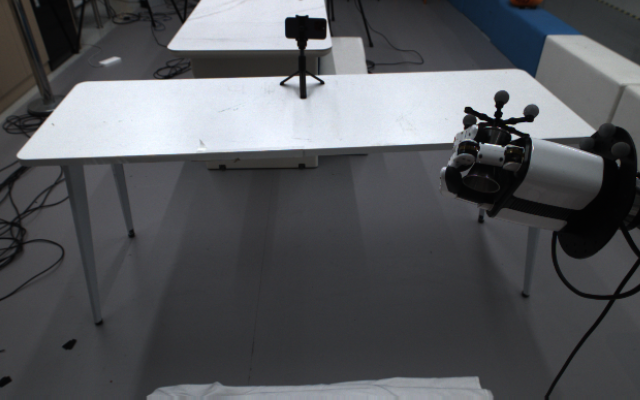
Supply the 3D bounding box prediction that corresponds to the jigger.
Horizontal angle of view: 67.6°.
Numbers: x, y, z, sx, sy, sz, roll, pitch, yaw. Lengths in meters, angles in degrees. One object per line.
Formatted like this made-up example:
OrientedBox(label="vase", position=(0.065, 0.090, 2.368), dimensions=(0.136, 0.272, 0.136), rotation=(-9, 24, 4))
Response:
OrientedBox(label="jigger", position=(0.201, -0.051, 0.577), dimensions=(0.043, 0.043, 0.071), rotation=(15, 70, 18))
